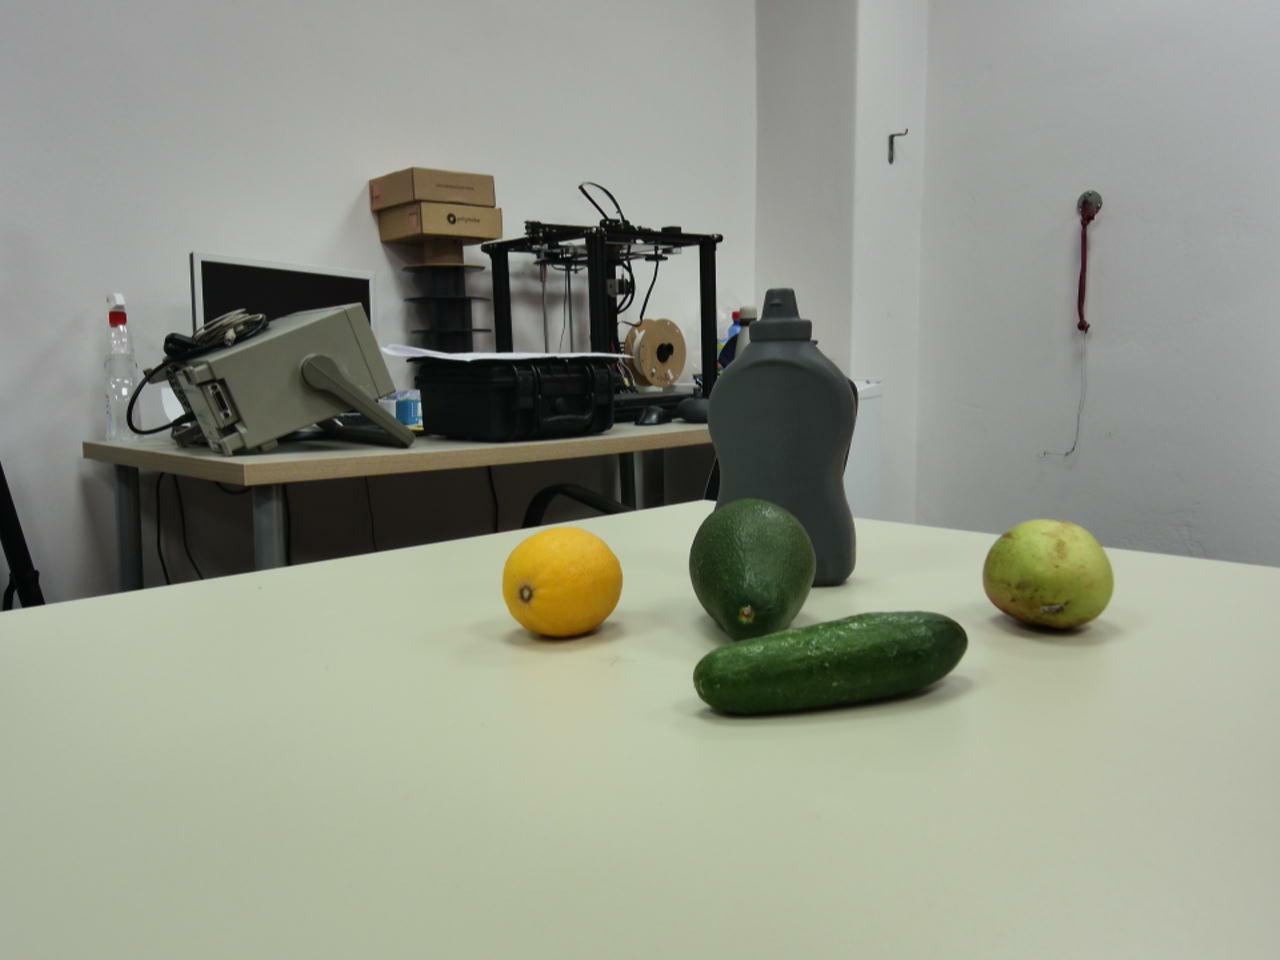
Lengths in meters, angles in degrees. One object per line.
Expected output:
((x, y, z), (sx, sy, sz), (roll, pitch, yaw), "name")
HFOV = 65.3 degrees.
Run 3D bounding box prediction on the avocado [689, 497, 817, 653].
((0.057, 0.048, 0.549), (0.073, 0.071, 0.109), (3, 6, 25), "avocado")
